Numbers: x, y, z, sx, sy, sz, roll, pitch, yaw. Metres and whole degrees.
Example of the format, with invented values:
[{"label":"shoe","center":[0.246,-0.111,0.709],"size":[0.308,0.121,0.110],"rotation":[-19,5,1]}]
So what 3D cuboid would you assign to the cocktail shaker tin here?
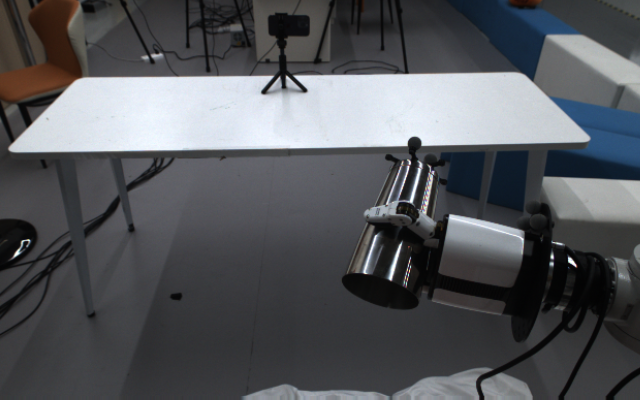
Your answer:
[{"label":"cocktail shaker tin","center":[0.094,0.037,0.593],"size":[0.093,0.093,0.170],"rotation":[15,62,18]}]
